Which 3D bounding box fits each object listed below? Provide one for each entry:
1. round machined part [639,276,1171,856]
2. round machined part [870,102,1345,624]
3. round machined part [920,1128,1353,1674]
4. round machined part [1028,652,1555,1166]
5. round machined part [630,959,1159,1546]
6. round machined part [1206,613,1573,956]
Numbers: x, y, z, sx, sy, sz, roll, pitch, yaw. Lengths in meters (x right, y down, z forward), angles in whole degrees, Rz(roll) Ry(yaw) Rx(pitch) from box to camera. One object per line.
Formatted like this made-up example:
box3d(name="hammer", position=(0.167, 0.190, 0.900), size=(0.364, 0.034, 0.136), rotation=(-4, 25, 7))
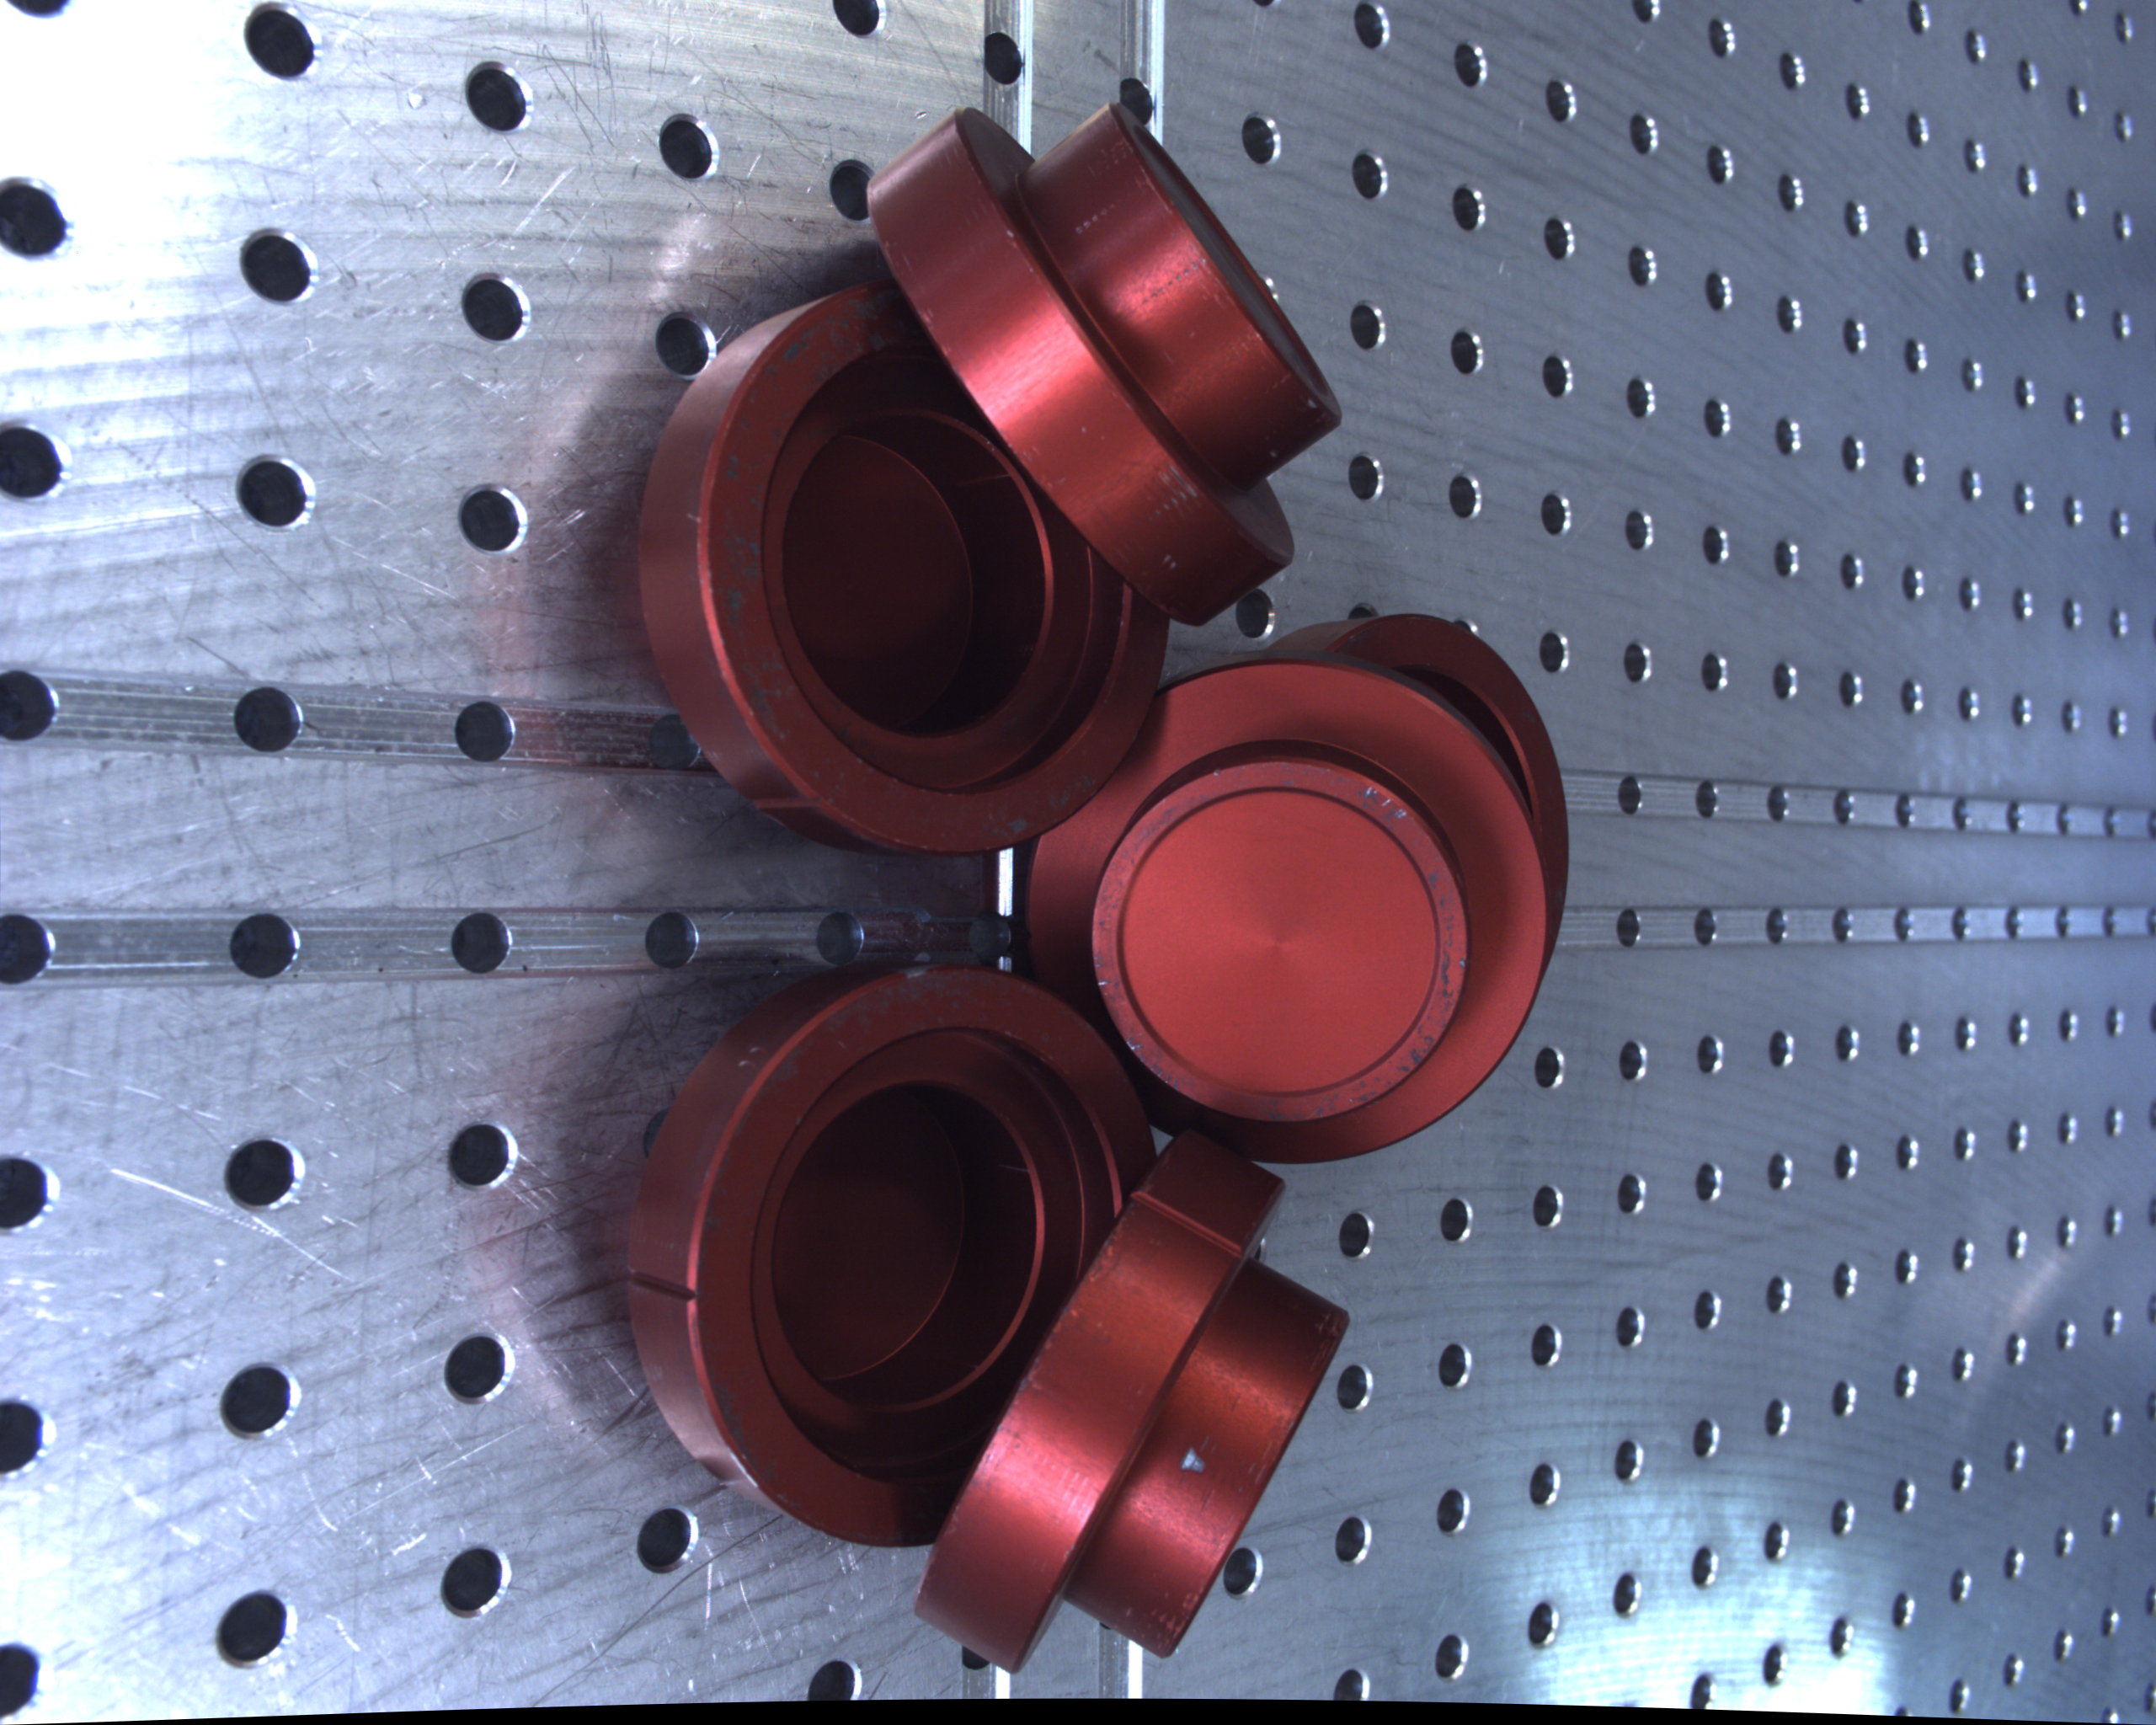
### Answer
box3d(name="round machined part", position=(-0.033, -0.050, 0.368), size=(0.099, 0.042, 0.097), rotation=(0, 90, -40))
box3d(name="round machined part", position=(0.011, -0.094, 0.370), size=(0.098, 0.042, 0.098), rotation=(49, 17, -20))
box3d(name="round machined part", position=(0.015, 0.100, 0.372), size=(0.042, 0.098, 0.098), rotation=(28, 71, 11))
box3d(name="round machined part", position=(0.039, 0.010, 0.390), size=(0.042, 0.098, 0.097), rotation=(-56, 136, -77))
box3d(name="round machined part", position=(-0.035, 0.065, 0.368), size=(0.099, 0.042, 0.097), rotation=(0, 90, -40))
box3d(name="round machined part", position=(0.058, -0.003, 0.445), size=(0.099, 0.042, 0.097), rotation=(0, 90, -40))
